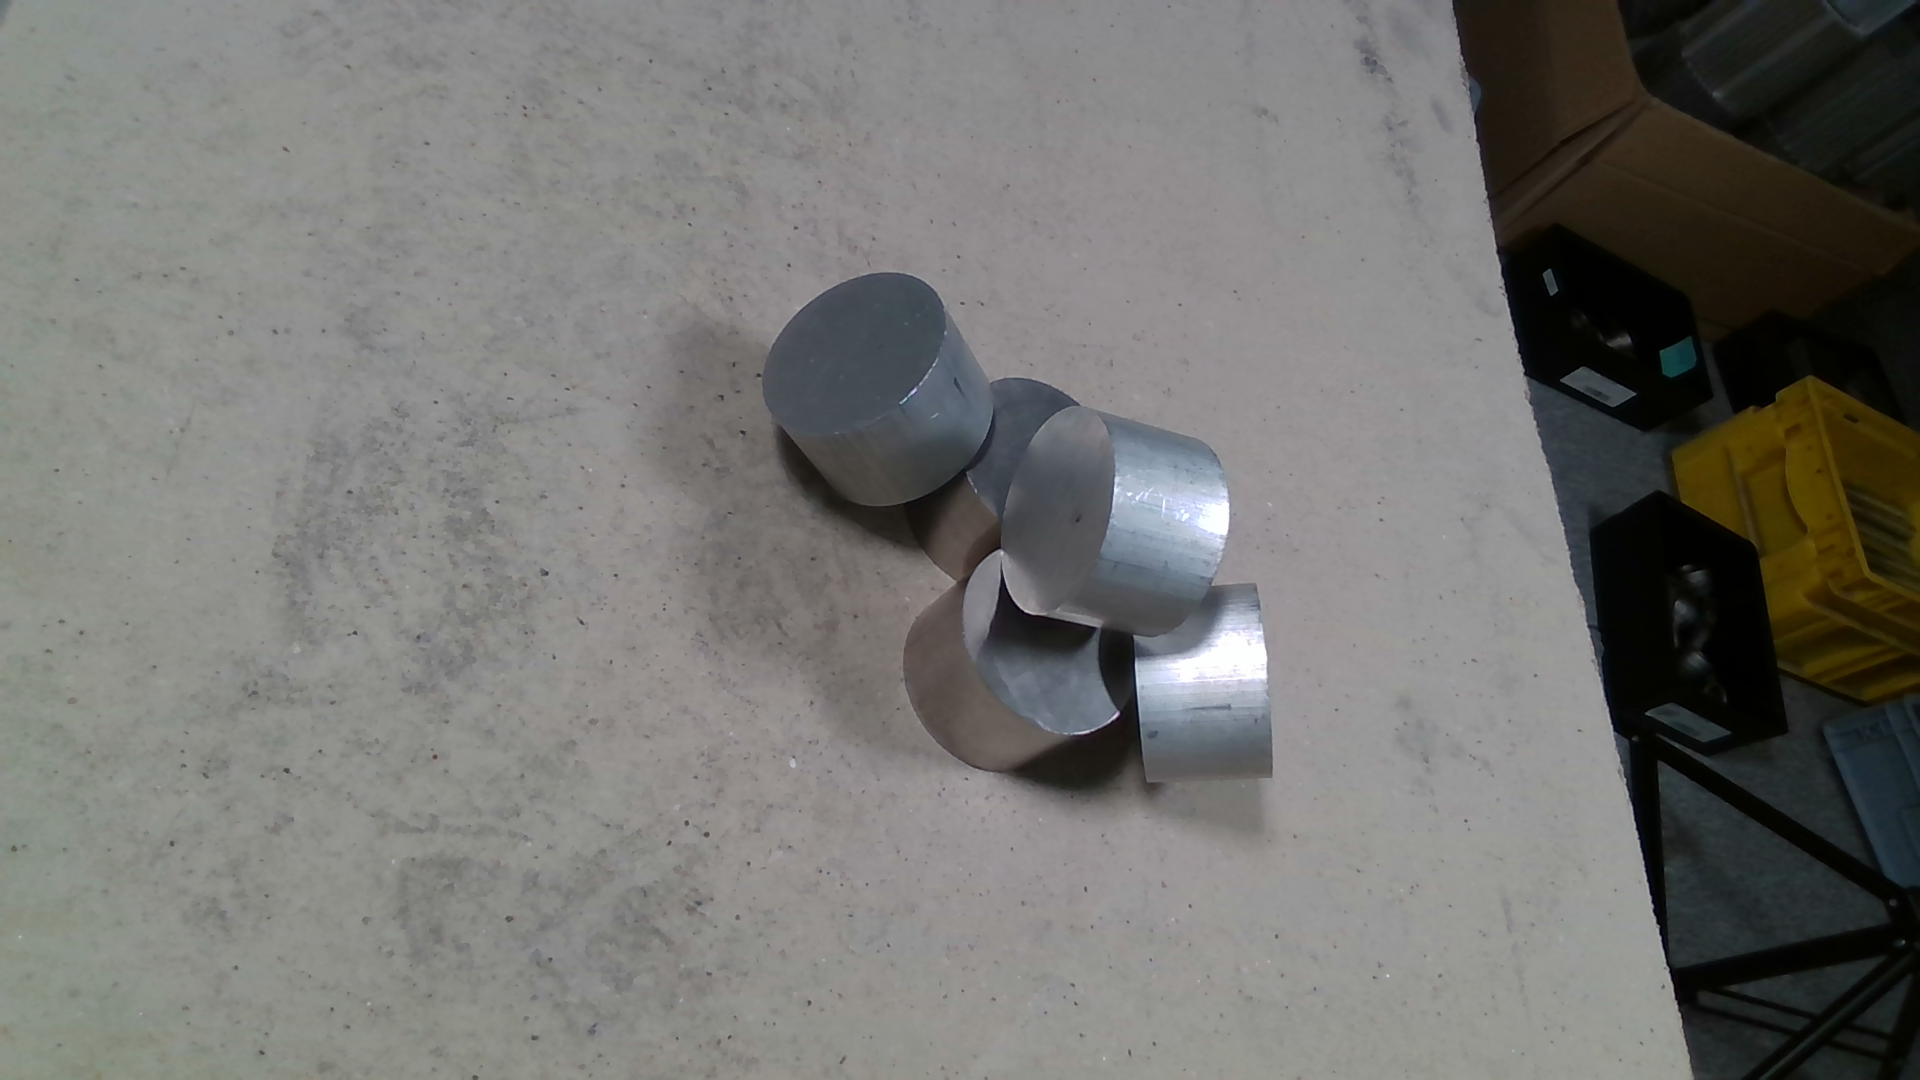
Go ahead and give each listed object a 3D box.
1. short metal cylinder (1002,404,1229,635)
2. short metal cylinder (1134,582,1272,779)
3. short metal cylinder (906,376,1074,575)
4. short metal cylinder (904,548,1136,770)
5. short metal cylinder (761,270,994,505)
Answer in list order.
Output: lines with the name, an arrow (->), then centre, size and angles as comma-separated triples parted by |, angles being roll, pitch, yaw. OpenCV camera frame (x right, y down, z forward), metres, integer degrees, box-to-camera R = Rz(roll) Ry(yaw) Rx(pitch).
short metal cylinder -> 0.057, -0.007, 0.525 | 0.050, 0.080, 0.080 | 13, 59, -26
short metal cylinder -> 0.100, 0.059, 0.572 | 0.050, 0.080, 0.080 | -4, 61, 9
short metal cylinder -> 0.023, -0.023, 0.596 | 0.080, 0.050, 0.080 | 14, 59, -25
short metal cylinder -> 0.024, 0.048, 0.559 | 0.080, 0.050, 0.080 | 14, 59, -25
short metal cylinder -> -0.033, -0.061, 0.555 | 0.050, 0.080, 0.080 | 54, 36, -50
